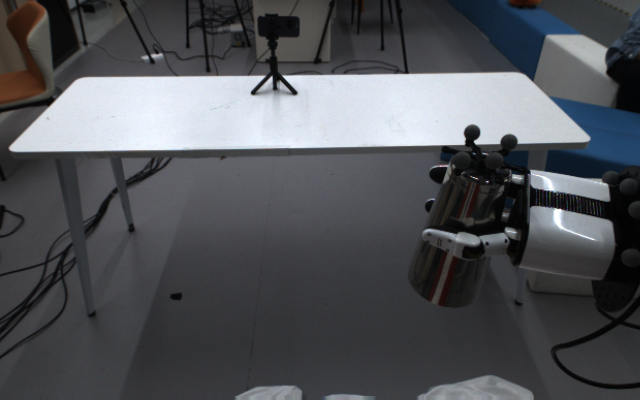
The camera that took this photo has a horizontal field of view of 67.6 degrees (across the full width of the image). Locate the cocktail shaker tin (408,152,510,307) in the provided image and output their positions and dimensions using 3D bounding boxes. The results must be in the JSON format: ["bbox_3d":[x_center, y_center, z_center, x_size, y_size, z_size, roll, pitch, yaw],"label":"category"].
[{"bbox_3d":[0.167,0.032,0.565,0.093,0.170,0.093,4,36,-3],"label":"cocktail shaker tin"}]
